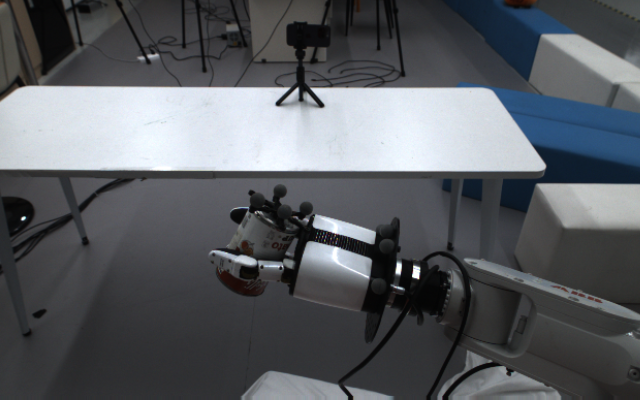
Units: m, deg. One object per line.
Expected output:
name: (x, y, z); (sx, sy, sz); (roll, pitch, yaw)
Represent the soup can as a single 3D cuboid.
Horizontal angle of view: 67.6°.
soup can: (-0.076, 0.060, 0.596); (0.067, 0.101, 0.067); (28, 18, -10)
